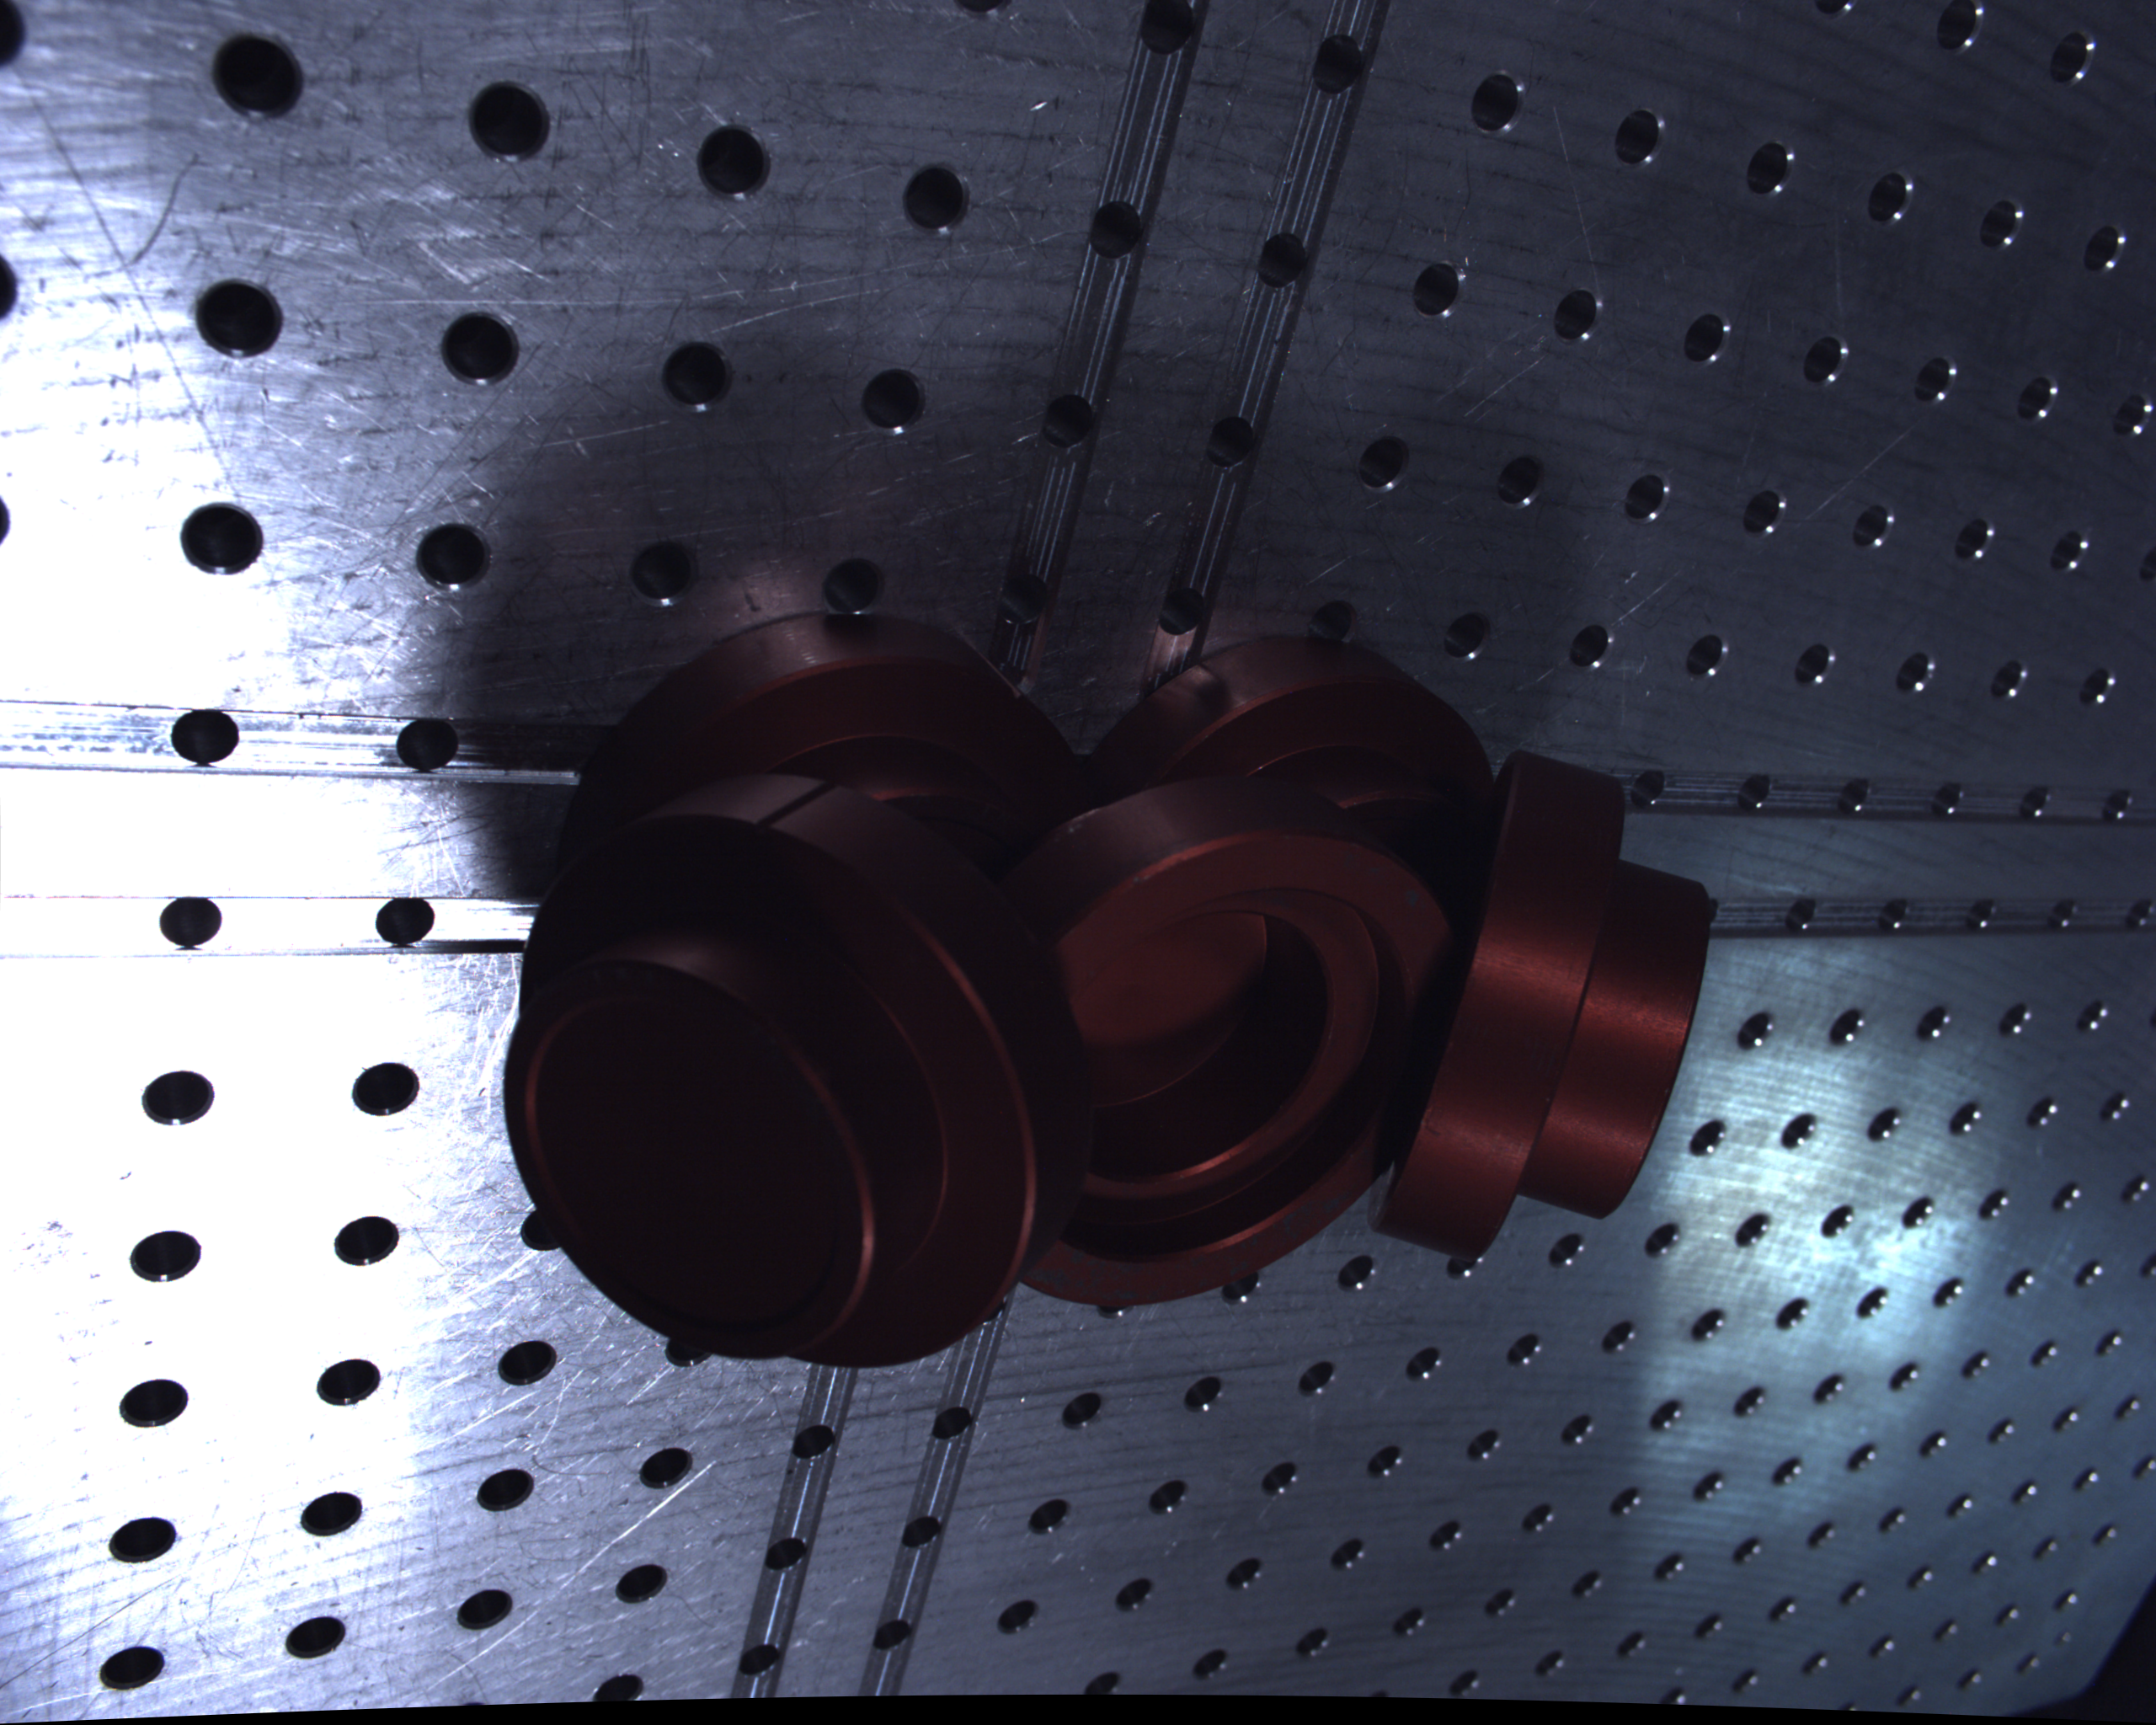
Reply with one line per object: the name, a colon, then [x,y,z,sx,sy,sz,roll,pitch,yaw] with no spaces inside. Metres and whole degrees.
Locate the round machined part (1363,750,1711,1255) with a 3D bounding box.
round machined part: [0.090,0.030,0.404,0.042,0.098,0.097,18,115,8]

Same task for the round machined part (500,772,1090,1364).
round machined part: [-0.051,0.038,0.331,0.042,0.098,0.097,-39,144,-55]

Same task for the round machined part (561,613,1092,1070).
round machined part: [-0.041,0.007,0.383,0.099,0.042,0.097,-14,125,-21]

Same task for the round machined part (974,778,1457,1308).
round machined part: [0.016,0.028,0.372,0.099,0.042,0.097,-14,125,-21]

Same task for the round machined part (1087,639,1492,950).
round machined part: [0.045,0.007,0.430,0.099,0.042,0.097,-14,125,-21]
